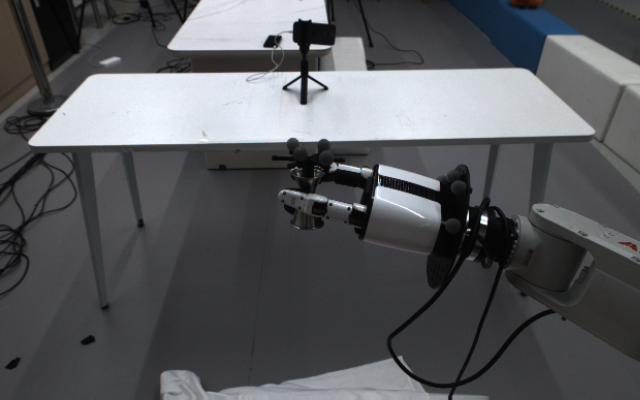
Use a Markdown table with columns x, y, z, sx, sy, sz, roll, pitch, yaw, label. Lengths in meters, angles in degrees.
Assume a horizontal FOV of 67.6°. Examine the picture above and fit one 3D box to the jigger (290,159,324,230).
| x | y | z | sx | sy | sz | roll | pitch | yaw | label |
| --- | --- | --- | --- | --- | --- | --- | --- | --- | --- |
| -0.016 | -0.003 | 0.612 | 0.043 | 0.071 | 0.043 | 1 | 20 | 0 | jigger |
